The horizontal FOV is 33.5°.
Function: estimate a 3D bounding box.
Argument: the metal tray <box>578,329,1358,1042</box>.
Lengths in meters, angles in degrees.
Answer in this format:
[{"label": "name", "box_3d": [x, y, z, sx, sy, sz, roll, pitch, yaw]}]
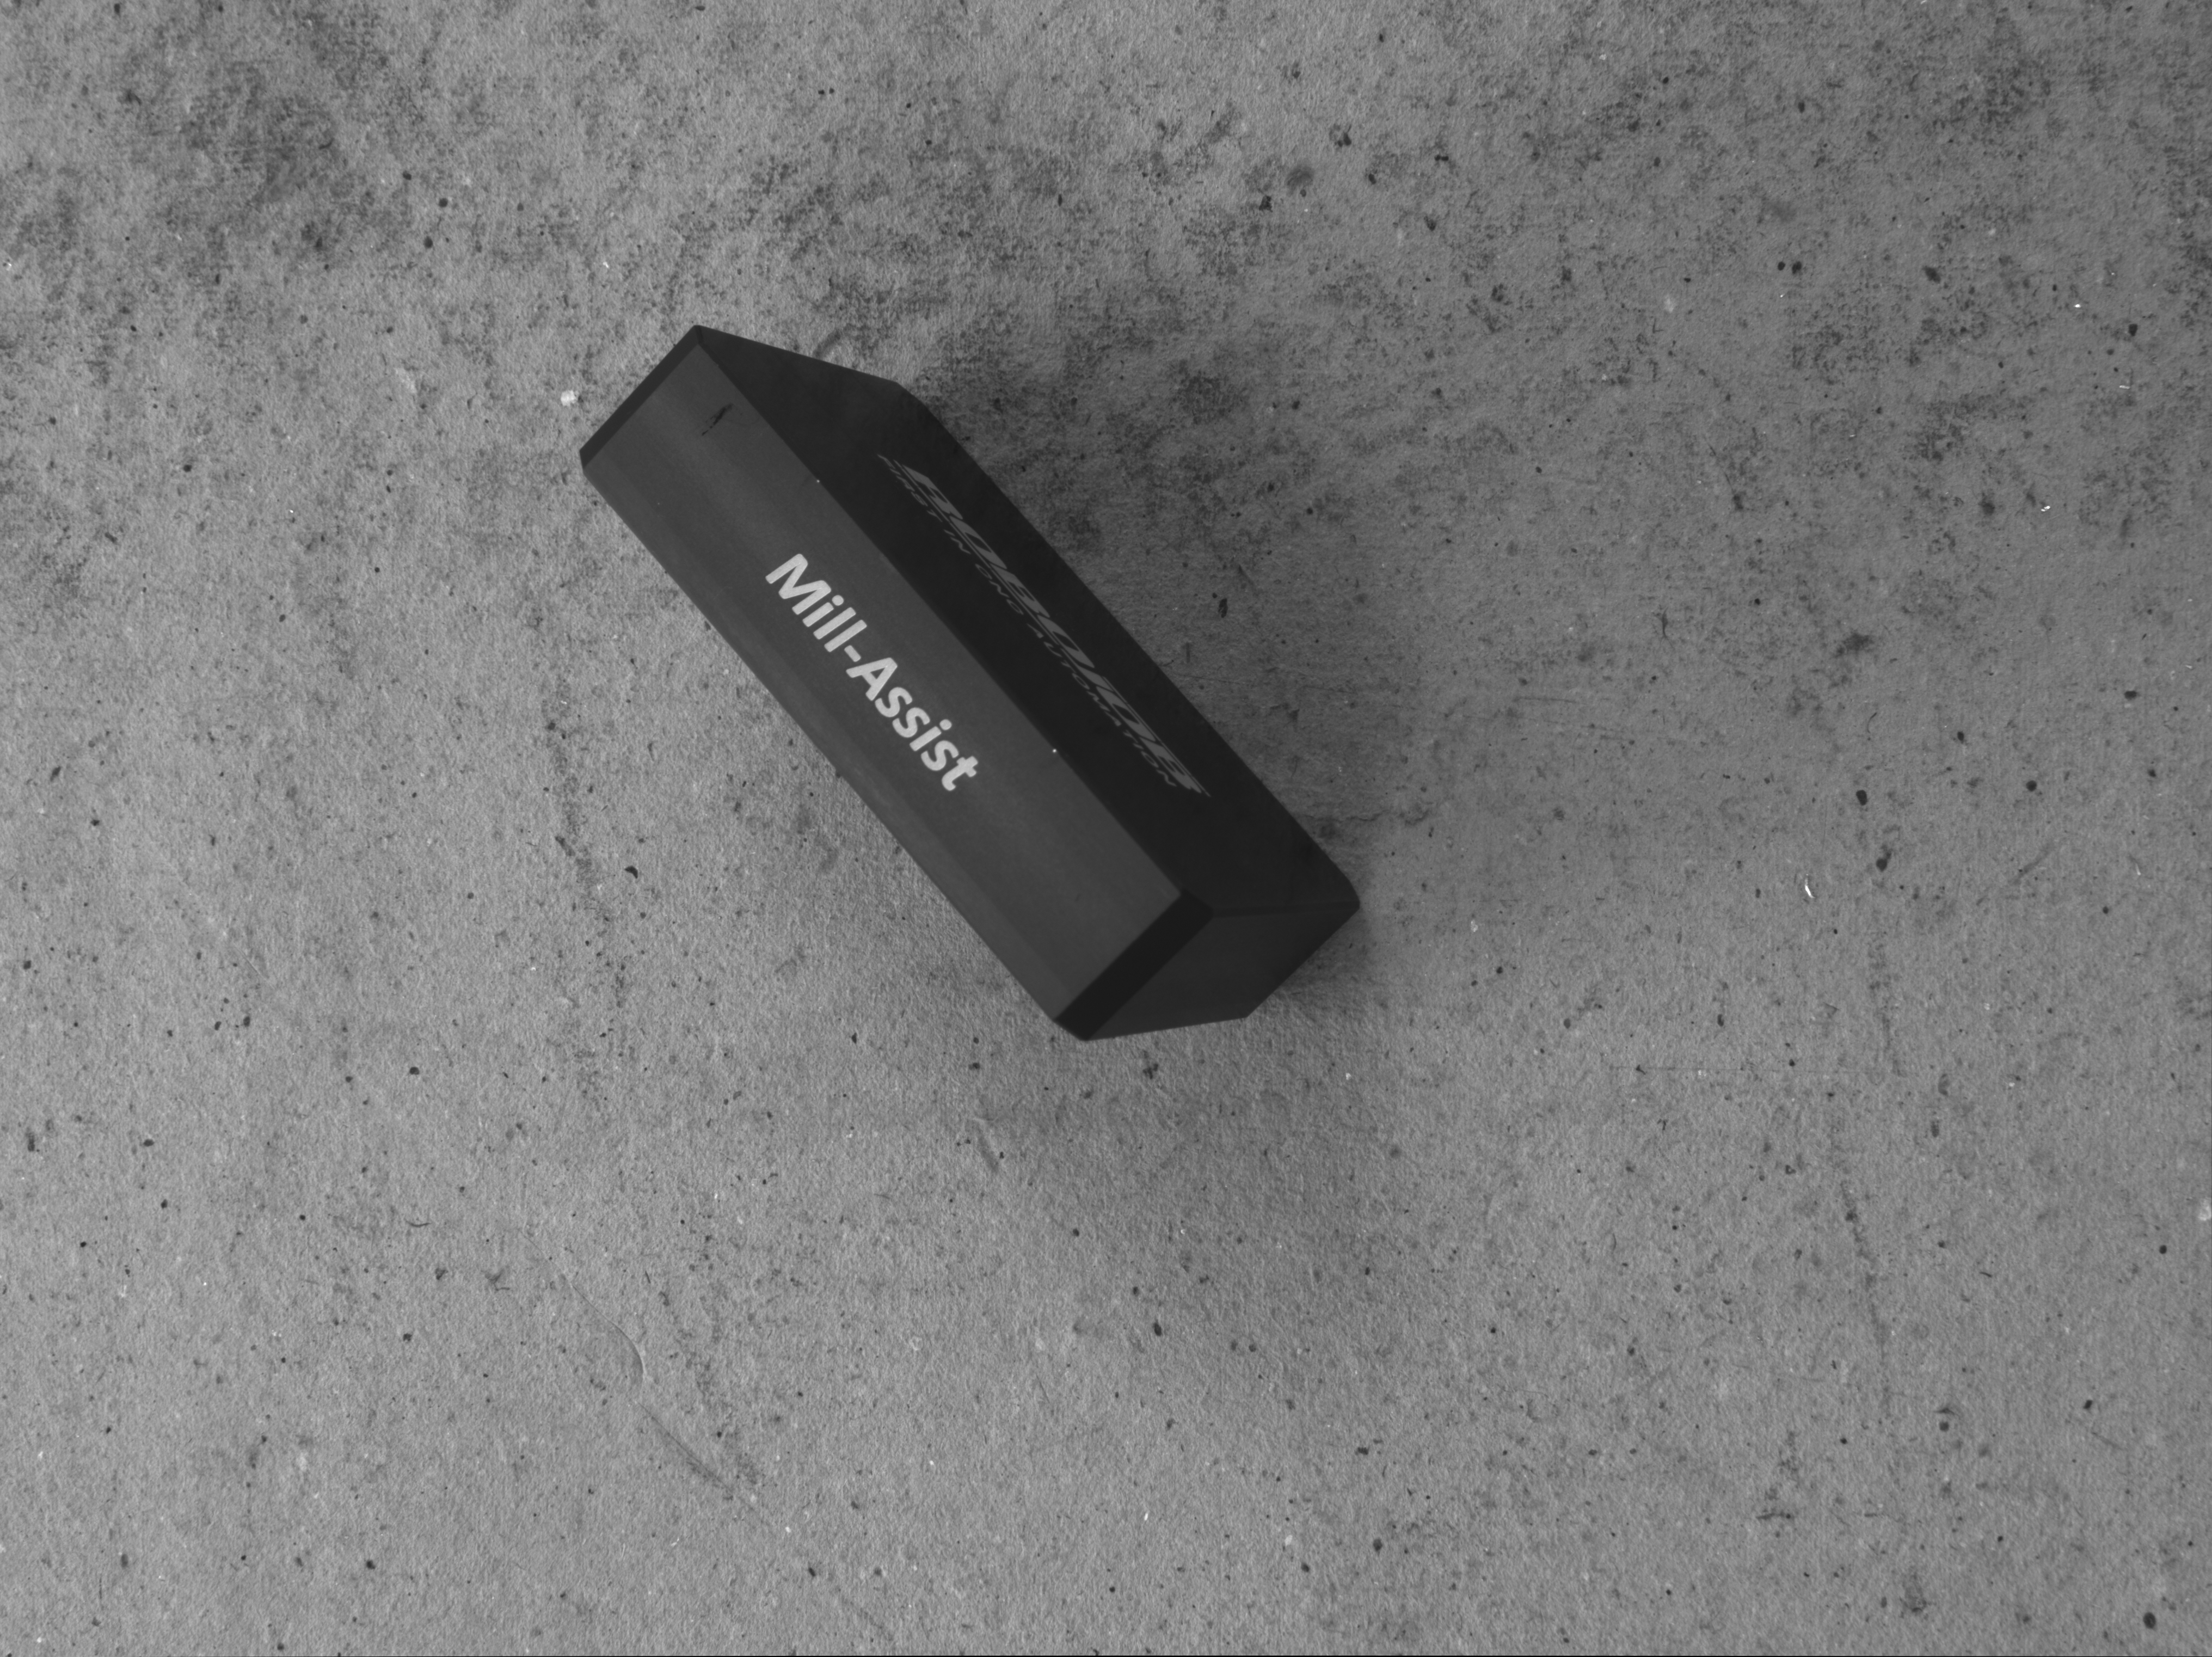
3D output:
[{"label": "metal tray", "box_3d": [-0.021, -0.024, 0.620, 0.030, 0.090, 0.130, -45, 76, 15]}]
